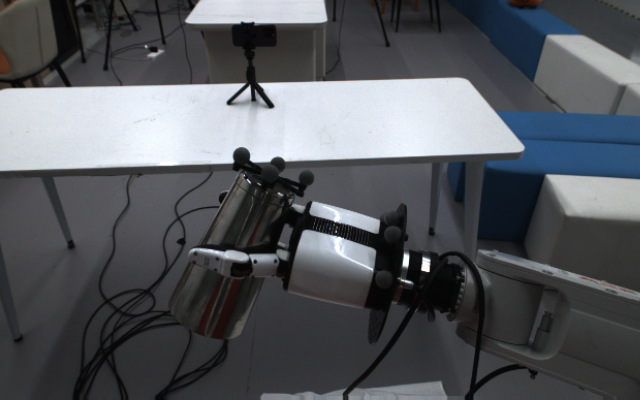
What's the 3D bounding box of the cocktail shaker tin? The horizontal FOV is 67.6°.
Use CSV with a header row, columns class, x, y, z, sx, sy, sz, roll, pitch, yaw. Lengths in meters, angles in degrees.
class,x,y,z,sx,sy,sz,roll,pitch,yaw
cocktail shaker tin,-0.089,0.055,0.536,0.093,0.170,0.093,24,12,-5
